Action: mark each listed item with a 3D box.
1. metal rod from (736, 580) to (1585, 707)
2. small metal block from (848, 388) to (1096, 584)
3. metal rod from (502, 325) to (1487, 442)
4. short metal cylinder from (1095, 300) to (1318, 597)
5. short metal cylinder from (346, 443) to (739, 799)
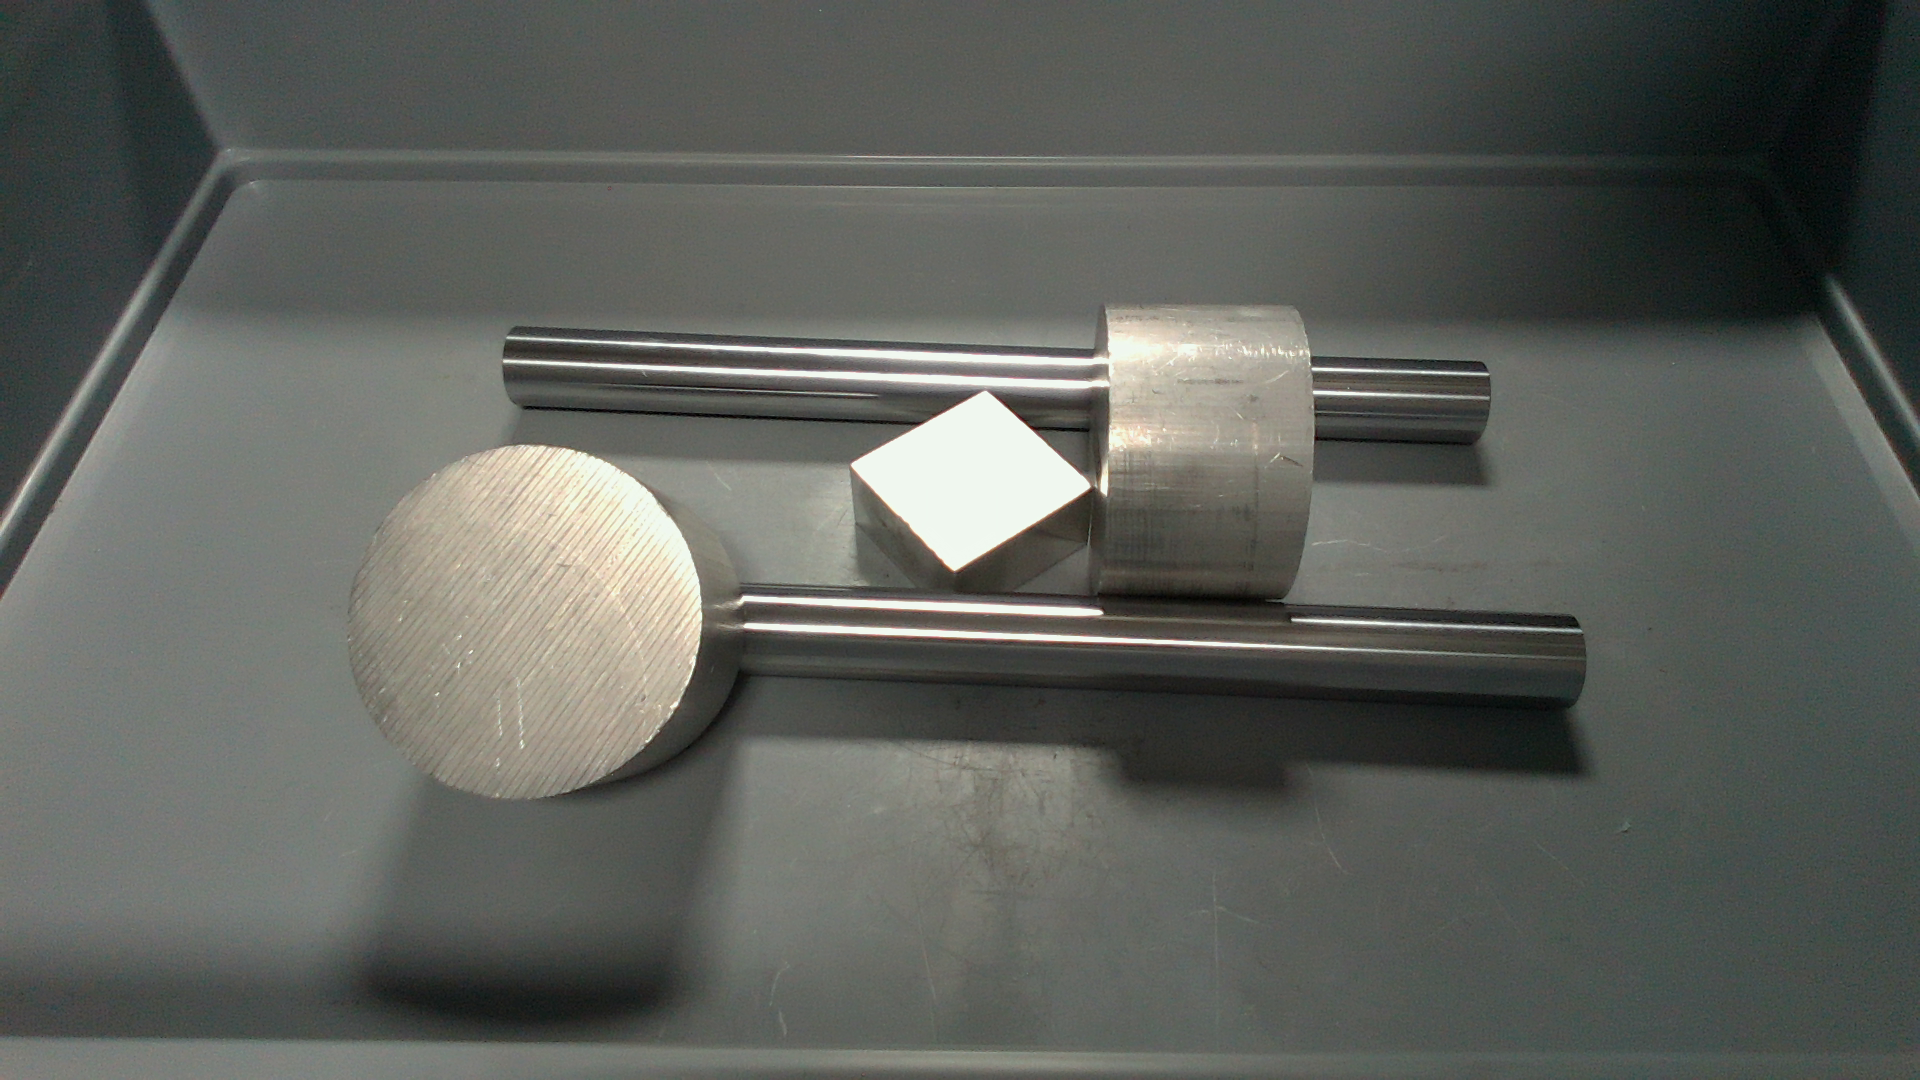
[{"bbox_3d":[0.010,0.026,0.368,0.300,0.025,0.025,2,50,2],"label":"metal rod"},{"bbox_3d":[0.003,-0.011,0.399,0.050,0.025,0.050,-31,56,-23],"label":"small metal block"},{"bbox_3d":[0.009,-0.049,0.431,0.300,0.025,0.025,2,50,2],"label":"metal rod"},{"bbox_3d":[0.063,-0.024,0.375,0.050,0.080,0.080,1,50,1],"label":"short metal cylinder"},{"bbox_3d":[-0.098,0.020,0.334,0.080,0.050,0.080,0,84,2],"label":"short metal cylinder"}]
